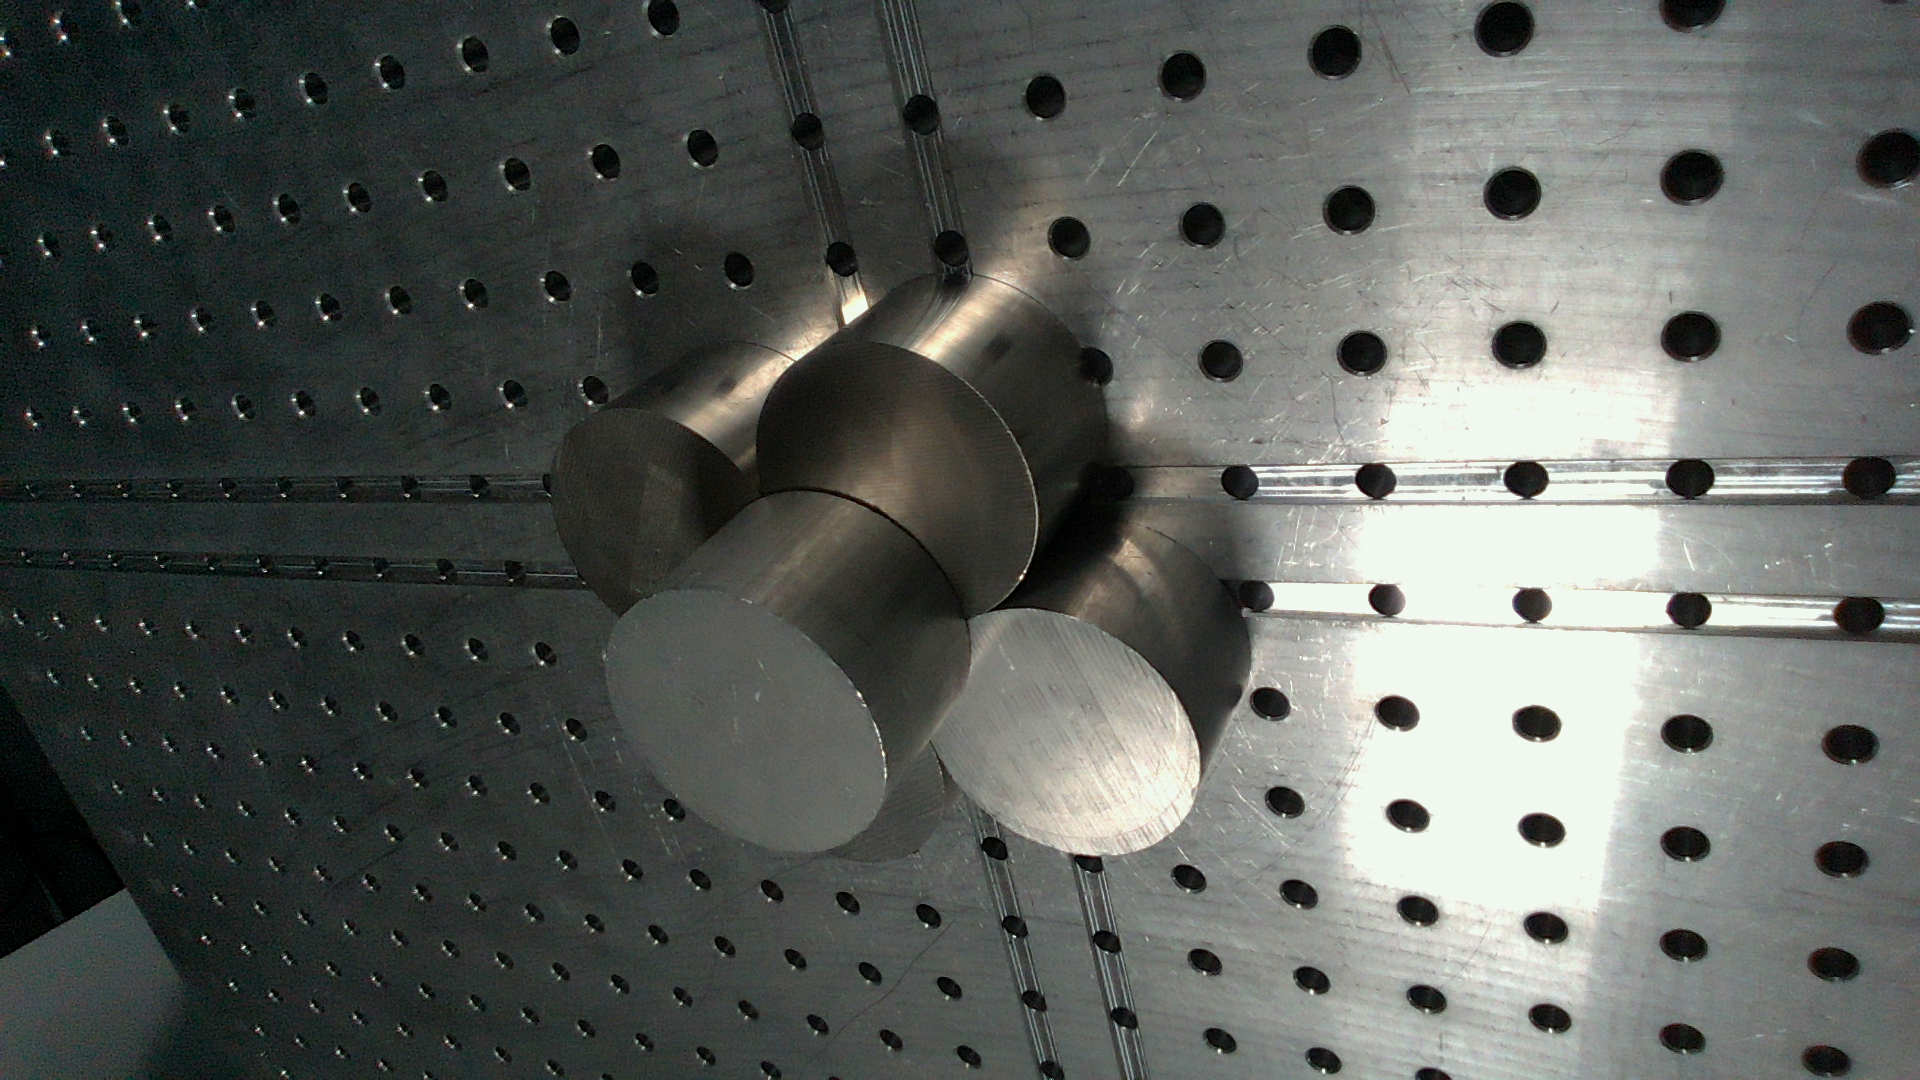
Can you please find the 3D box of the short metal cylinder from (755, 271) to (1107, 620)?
[{"bbox_3d":[-0.007,-0.025,0.367,0.080,0.050,0.080,13,124,21],"label":"short metal cylinder"}]

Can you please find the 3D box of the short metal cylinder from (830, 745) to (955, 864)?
[{"bbox_3d":[-0.030,0.053,0.428,0.080,0.050,0.080,13,124,21],"label":"short metal cylinder"}]

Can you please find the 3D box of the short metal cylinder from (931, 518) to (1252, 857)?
[{"bbox_3d":[0.036,0.041,0.385,0.080,0.050,0.080,13,124,21],"label":"short metal cylinder"}]

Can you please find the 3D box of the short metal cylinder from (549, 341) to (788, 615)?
[{"bbox_3d":[-0.074,-0.013,0.411,0.080,0.050,0.080,13,124,21],"label":"short metal cylinder"}]

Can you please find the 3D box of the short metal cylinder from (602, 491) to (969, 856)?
[{"bbox_3d":[-0.044,0.034,0.358,0.080,0.050,0.080,13,125,20],"label":"short metal cylinder"}]
